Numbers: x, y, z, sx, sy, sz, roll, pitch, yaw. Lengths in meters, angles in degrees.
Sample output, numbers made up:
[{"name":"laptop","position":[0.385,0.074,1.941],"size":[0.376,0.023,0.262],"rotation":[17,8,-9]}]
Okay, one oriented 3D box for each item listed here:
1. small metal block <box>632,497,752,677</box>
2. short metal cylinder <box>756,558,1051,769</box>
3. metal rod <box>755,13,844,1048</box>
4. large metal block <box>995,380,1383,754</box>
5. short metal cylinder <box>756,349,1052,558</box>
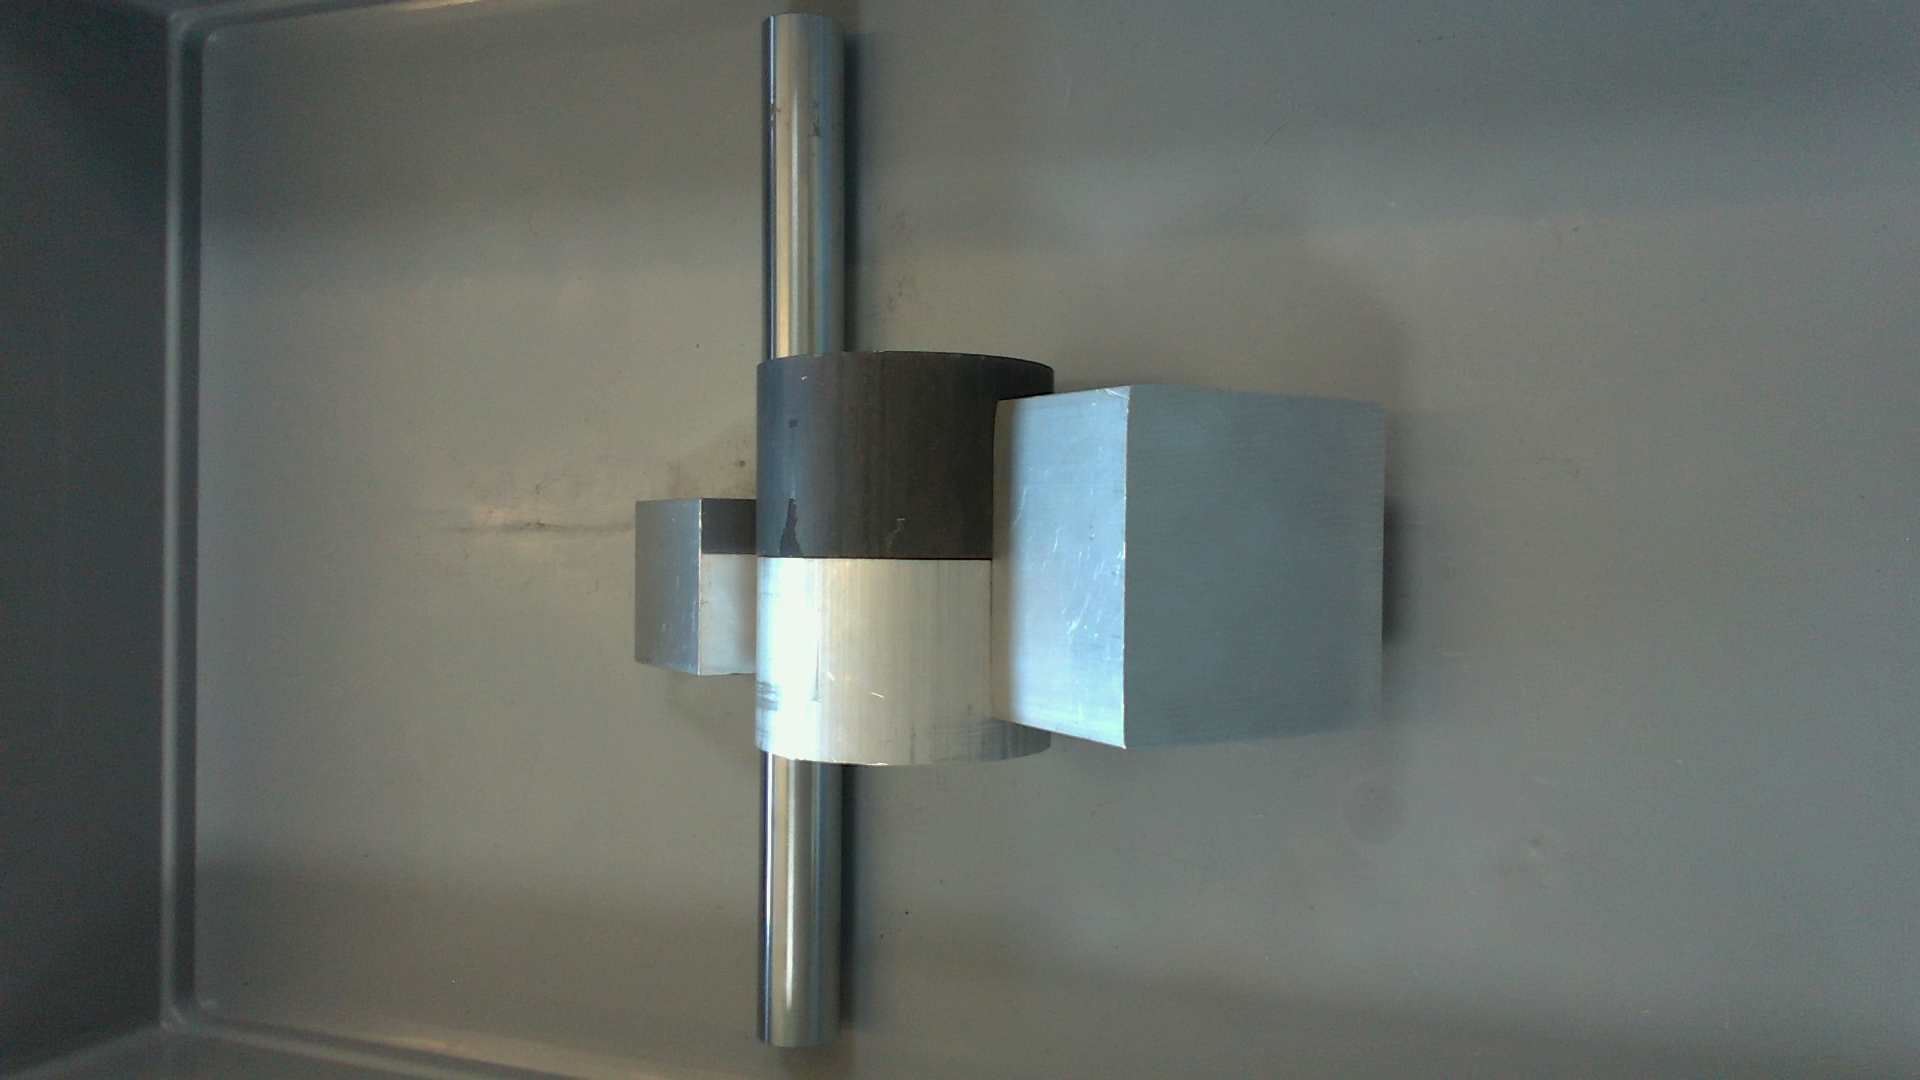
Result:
[{"name":"small metal block","position":[-0.076,0.013,0.410],"size":[0.050,0.025,0.050],"rotation":[0,89,55]},{"name":"short metal cylinder","position":[-0.015,0.030,0.370],"size":[0.080,0.080,0.050],"rotation":[0,90,20]},{"name":"metal rod","position":[-0.048,-0.003,0.411],"size":[0.025,0.025,0.300],"rotation":[0,90,20]},{"name":"large metal block","position":[0.056,0.005,0.337],"size":[0.050,0.080,0.080],"rotation":[2,91,58]},{"name":"short metal cylinder","position":[-0.015,-0.021,0.370],"size":[0.080,0.080,0.050],"rotation":[0,90,20]}]
